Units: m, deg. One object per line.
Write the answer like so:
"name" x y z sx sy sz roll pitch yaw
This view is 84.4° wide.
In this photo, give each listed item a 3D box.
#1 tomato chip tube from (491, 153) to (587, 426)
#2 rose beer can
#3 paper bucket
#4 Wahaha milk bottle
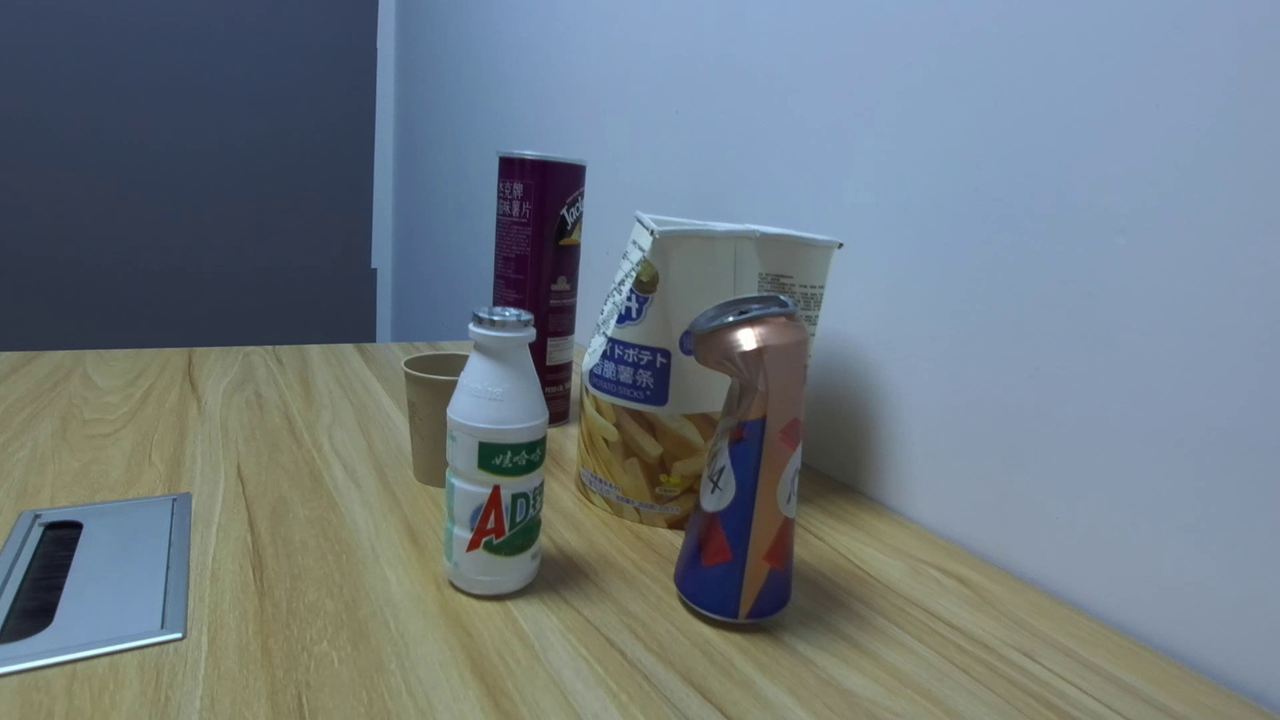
"tomato chip tube" -0.094 -0.060 0.637 0.078 0.233 0.078 5 10 0
"rose beer can" 0.054 0.052 0.371 0.069 0.168 0.070 14 20 41
"paper bucket" 0.029 -0.003 0.518 0.170 0.202 0.162 -1 14 -33
"Wahaha milk bottle" -0.076 0.048 0.375 0.053 0.147 0.053 5 12 -1
